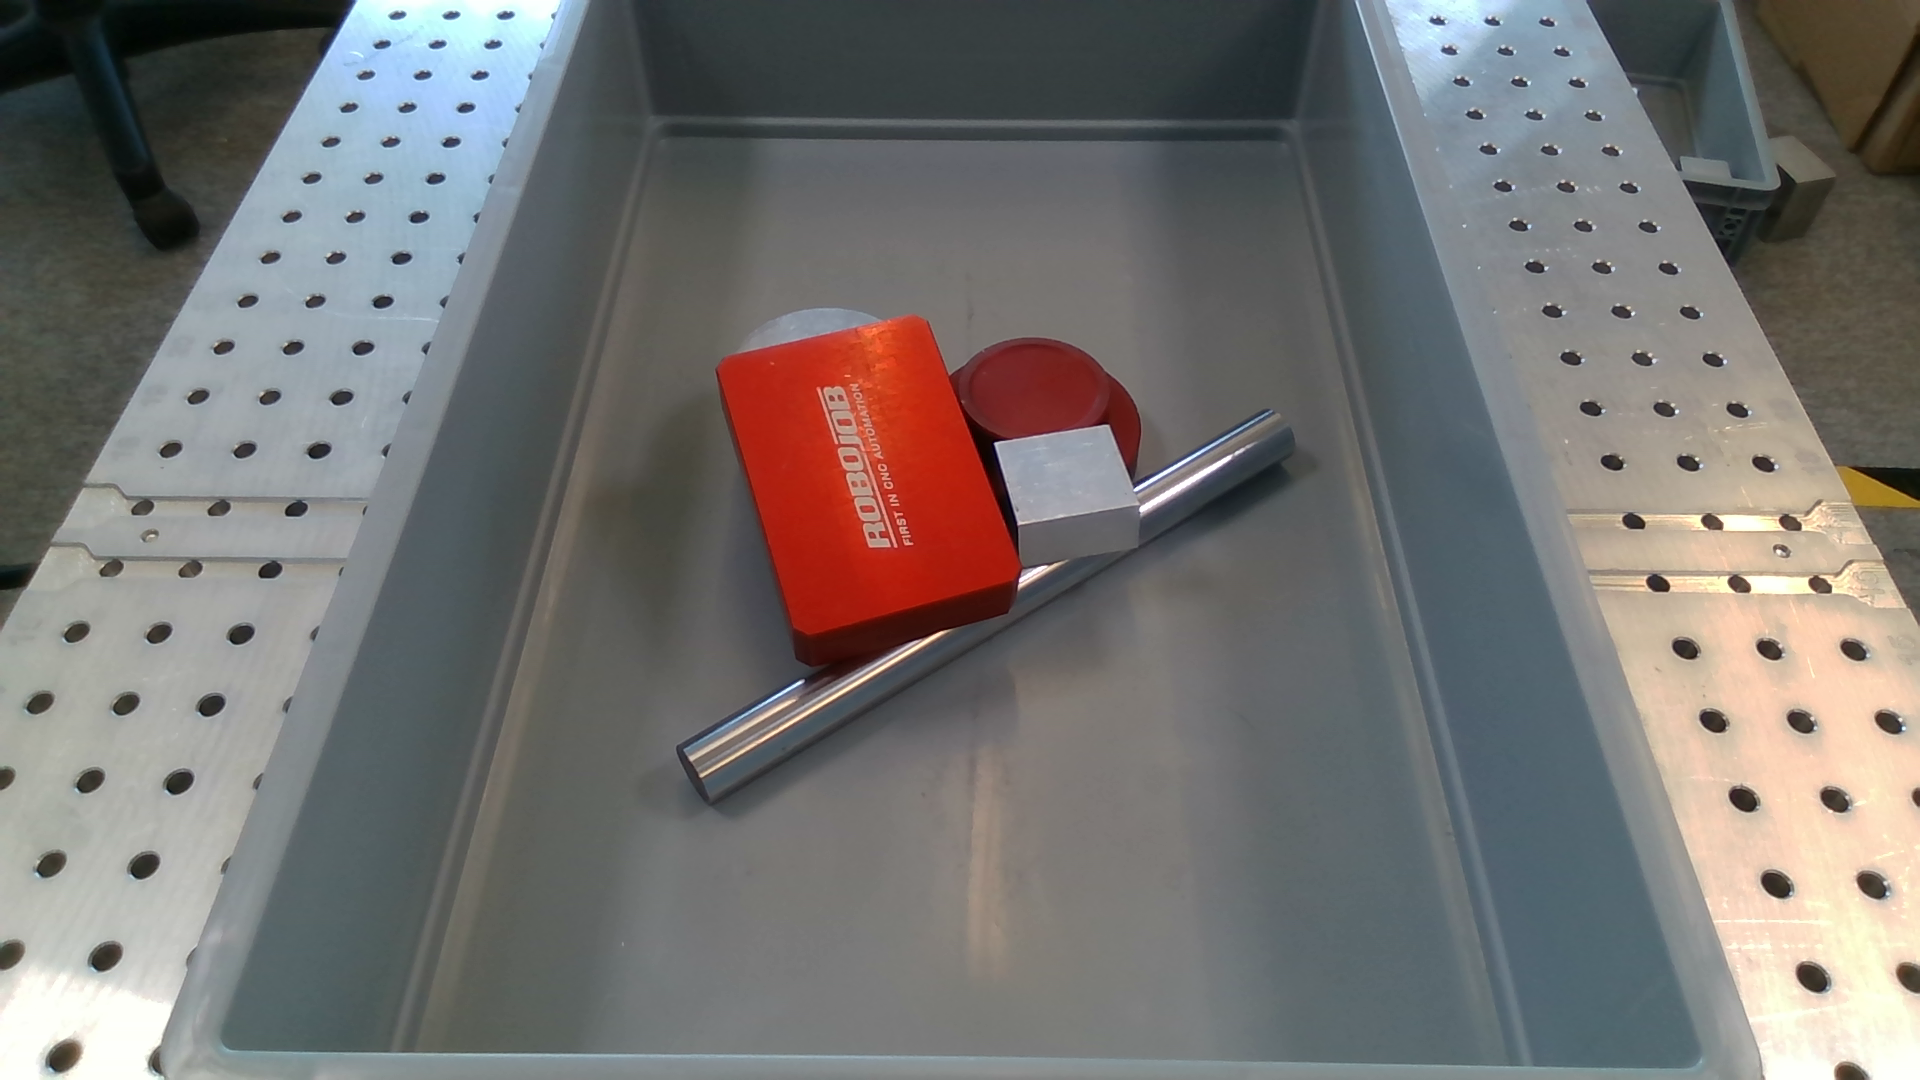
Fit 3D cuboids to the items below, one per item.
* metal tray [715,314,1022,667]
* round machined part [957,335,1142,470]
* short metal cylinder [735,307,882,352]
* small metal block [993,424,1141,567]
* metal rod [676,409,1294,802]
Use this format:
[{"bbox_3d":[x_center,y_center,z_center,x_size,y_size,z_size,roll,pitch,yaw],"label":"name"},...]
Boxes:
[{"bbox_3d":[-0.039,-0.023,0.551,0.090,0.030,0.130,-15,64,-11],"label":"metal tray"},{"bbox_3d":[0.033,-0.055,0.619,0.098,0.042,0.098,0,49,0],"label":"round machined part"},{"bbox_3d":[-0.060,-0.059,0.618,0.080,0.050,0.080,0,50,0],"label":"short metal cylinder"},{"bbox_3d":[0.044,-0.019,0.570,0.050,0.025,0.050,-10,46,-5],"label":"small metal block"},{"bbox_3d":[0.021,0.019,0.570,0.300,0.025,0.025,-29,56,-22],"label":"metal rod"}]
